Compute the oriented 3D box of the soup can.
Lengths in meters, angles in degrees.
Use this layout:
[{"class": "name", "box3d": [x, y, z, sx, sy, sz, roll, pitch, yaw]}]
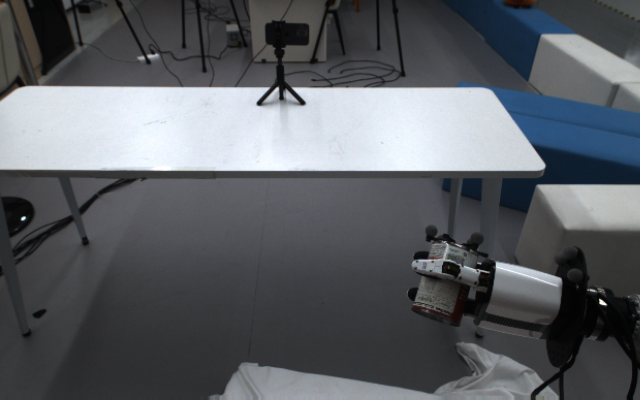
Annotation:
[{"class": "soup can", "box3d": [0.176, 0.115, 0.671, 0.067, 0.067, 0.101, 15, 75, 18]}]
